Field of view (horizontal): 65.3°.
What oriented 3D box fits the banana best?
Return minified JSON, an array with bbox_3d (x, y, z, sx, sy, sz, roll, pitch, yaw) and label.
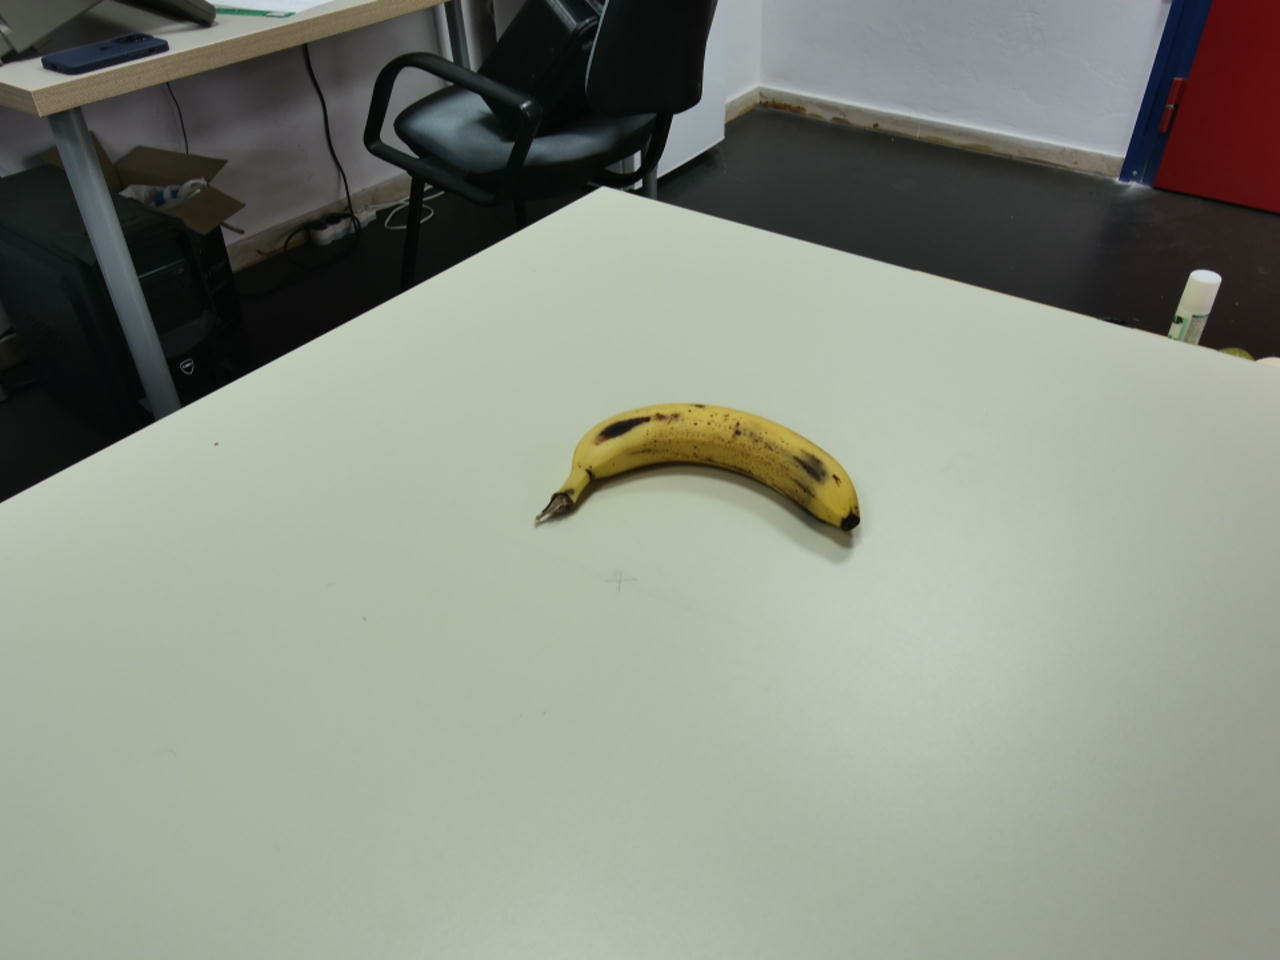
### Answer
[{"bbox_3d":[0.041,-0.010,0.615,0.186,0.038,0.097,5,38,8],"label":"banana"}]
